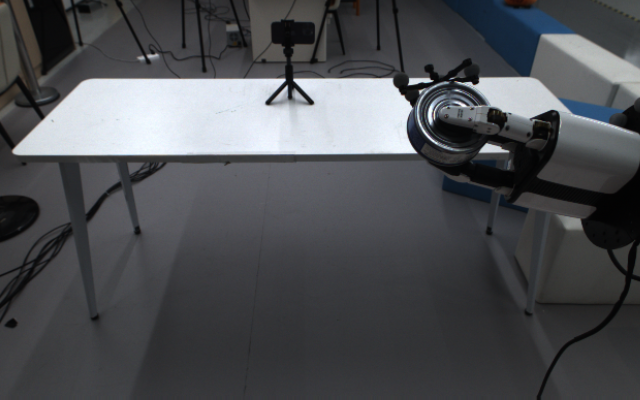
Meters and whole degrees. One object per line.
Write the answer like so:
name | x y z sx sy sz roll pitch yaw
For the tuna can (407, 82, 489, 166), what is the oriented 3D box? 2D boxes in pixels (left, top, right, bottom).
tuna can | 0.140 -0.084 0.513 0.085 0.034 0.085 0 72 -1
